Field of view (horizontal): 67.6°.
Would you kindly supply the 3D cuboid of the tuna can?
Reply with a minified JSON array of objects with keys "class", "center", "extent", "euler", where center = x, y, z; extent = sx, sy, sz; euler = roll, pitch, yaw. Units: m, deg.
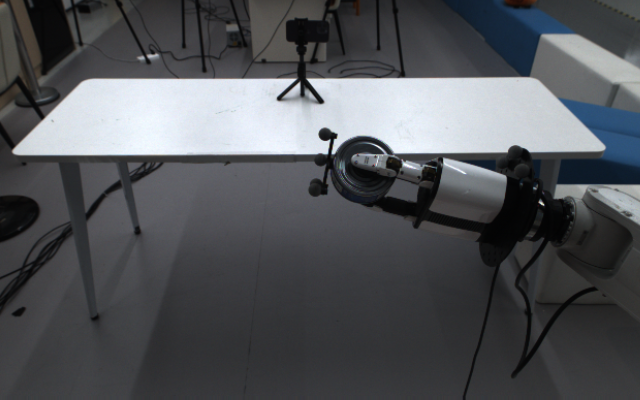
[{"class":"tuna can","center":[0.061,-0.037,0.635],"extent":[0.085,0.034,0.085],"euler":[2,73,-5]}]
